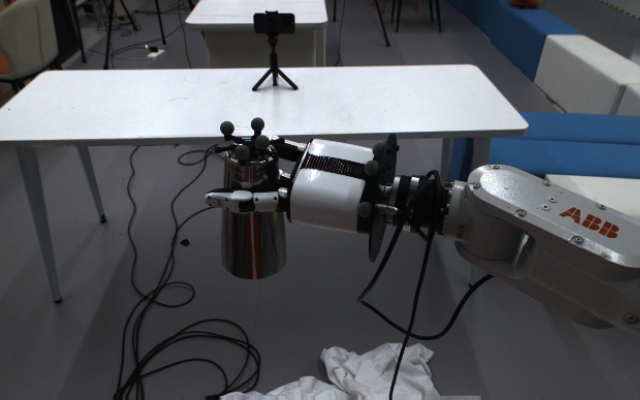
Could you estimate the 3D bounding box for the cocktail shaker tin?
[{"bbox_3d":[-0.087,0.008,0.645,0.093,0.170,0.093,2,33,-1],"label":"cocktail shaker tin"}]
